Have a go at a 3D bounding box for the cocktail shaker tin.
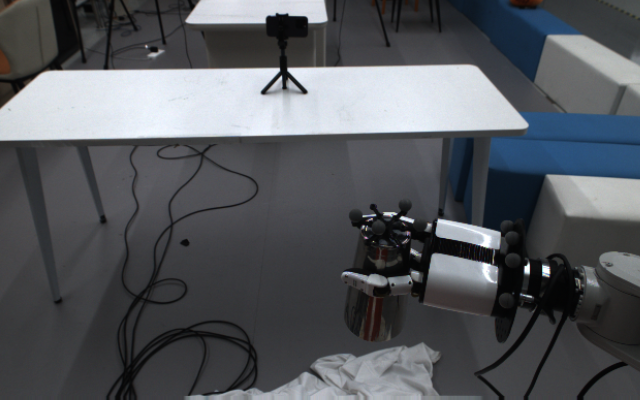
[{"bbox_3d":[0.086,0.102,0.669,0.093,0.170,0.093,1,39,-1],"label":"cocktail shaker tin"}]
